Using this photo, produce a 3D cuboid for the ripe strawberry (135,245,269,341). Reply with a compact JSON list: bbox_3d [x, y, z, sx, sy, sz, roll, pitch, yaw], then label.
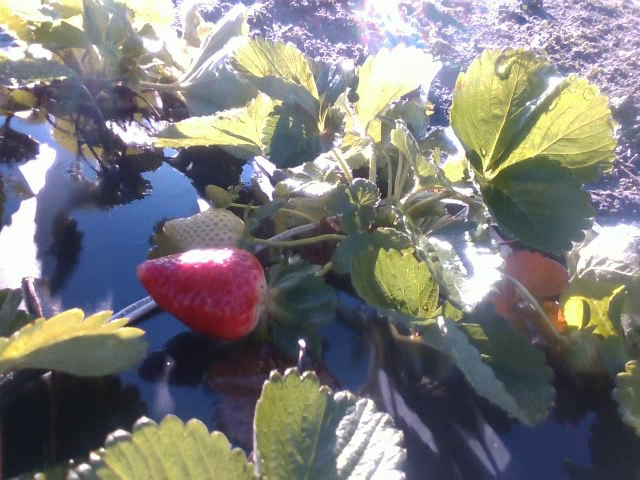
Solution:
[{"bbox_3d":[-0.052,0.019,0.295,0.080,0.063,0.040,17,-33,-23],"label":"ripe strawberry"}]
